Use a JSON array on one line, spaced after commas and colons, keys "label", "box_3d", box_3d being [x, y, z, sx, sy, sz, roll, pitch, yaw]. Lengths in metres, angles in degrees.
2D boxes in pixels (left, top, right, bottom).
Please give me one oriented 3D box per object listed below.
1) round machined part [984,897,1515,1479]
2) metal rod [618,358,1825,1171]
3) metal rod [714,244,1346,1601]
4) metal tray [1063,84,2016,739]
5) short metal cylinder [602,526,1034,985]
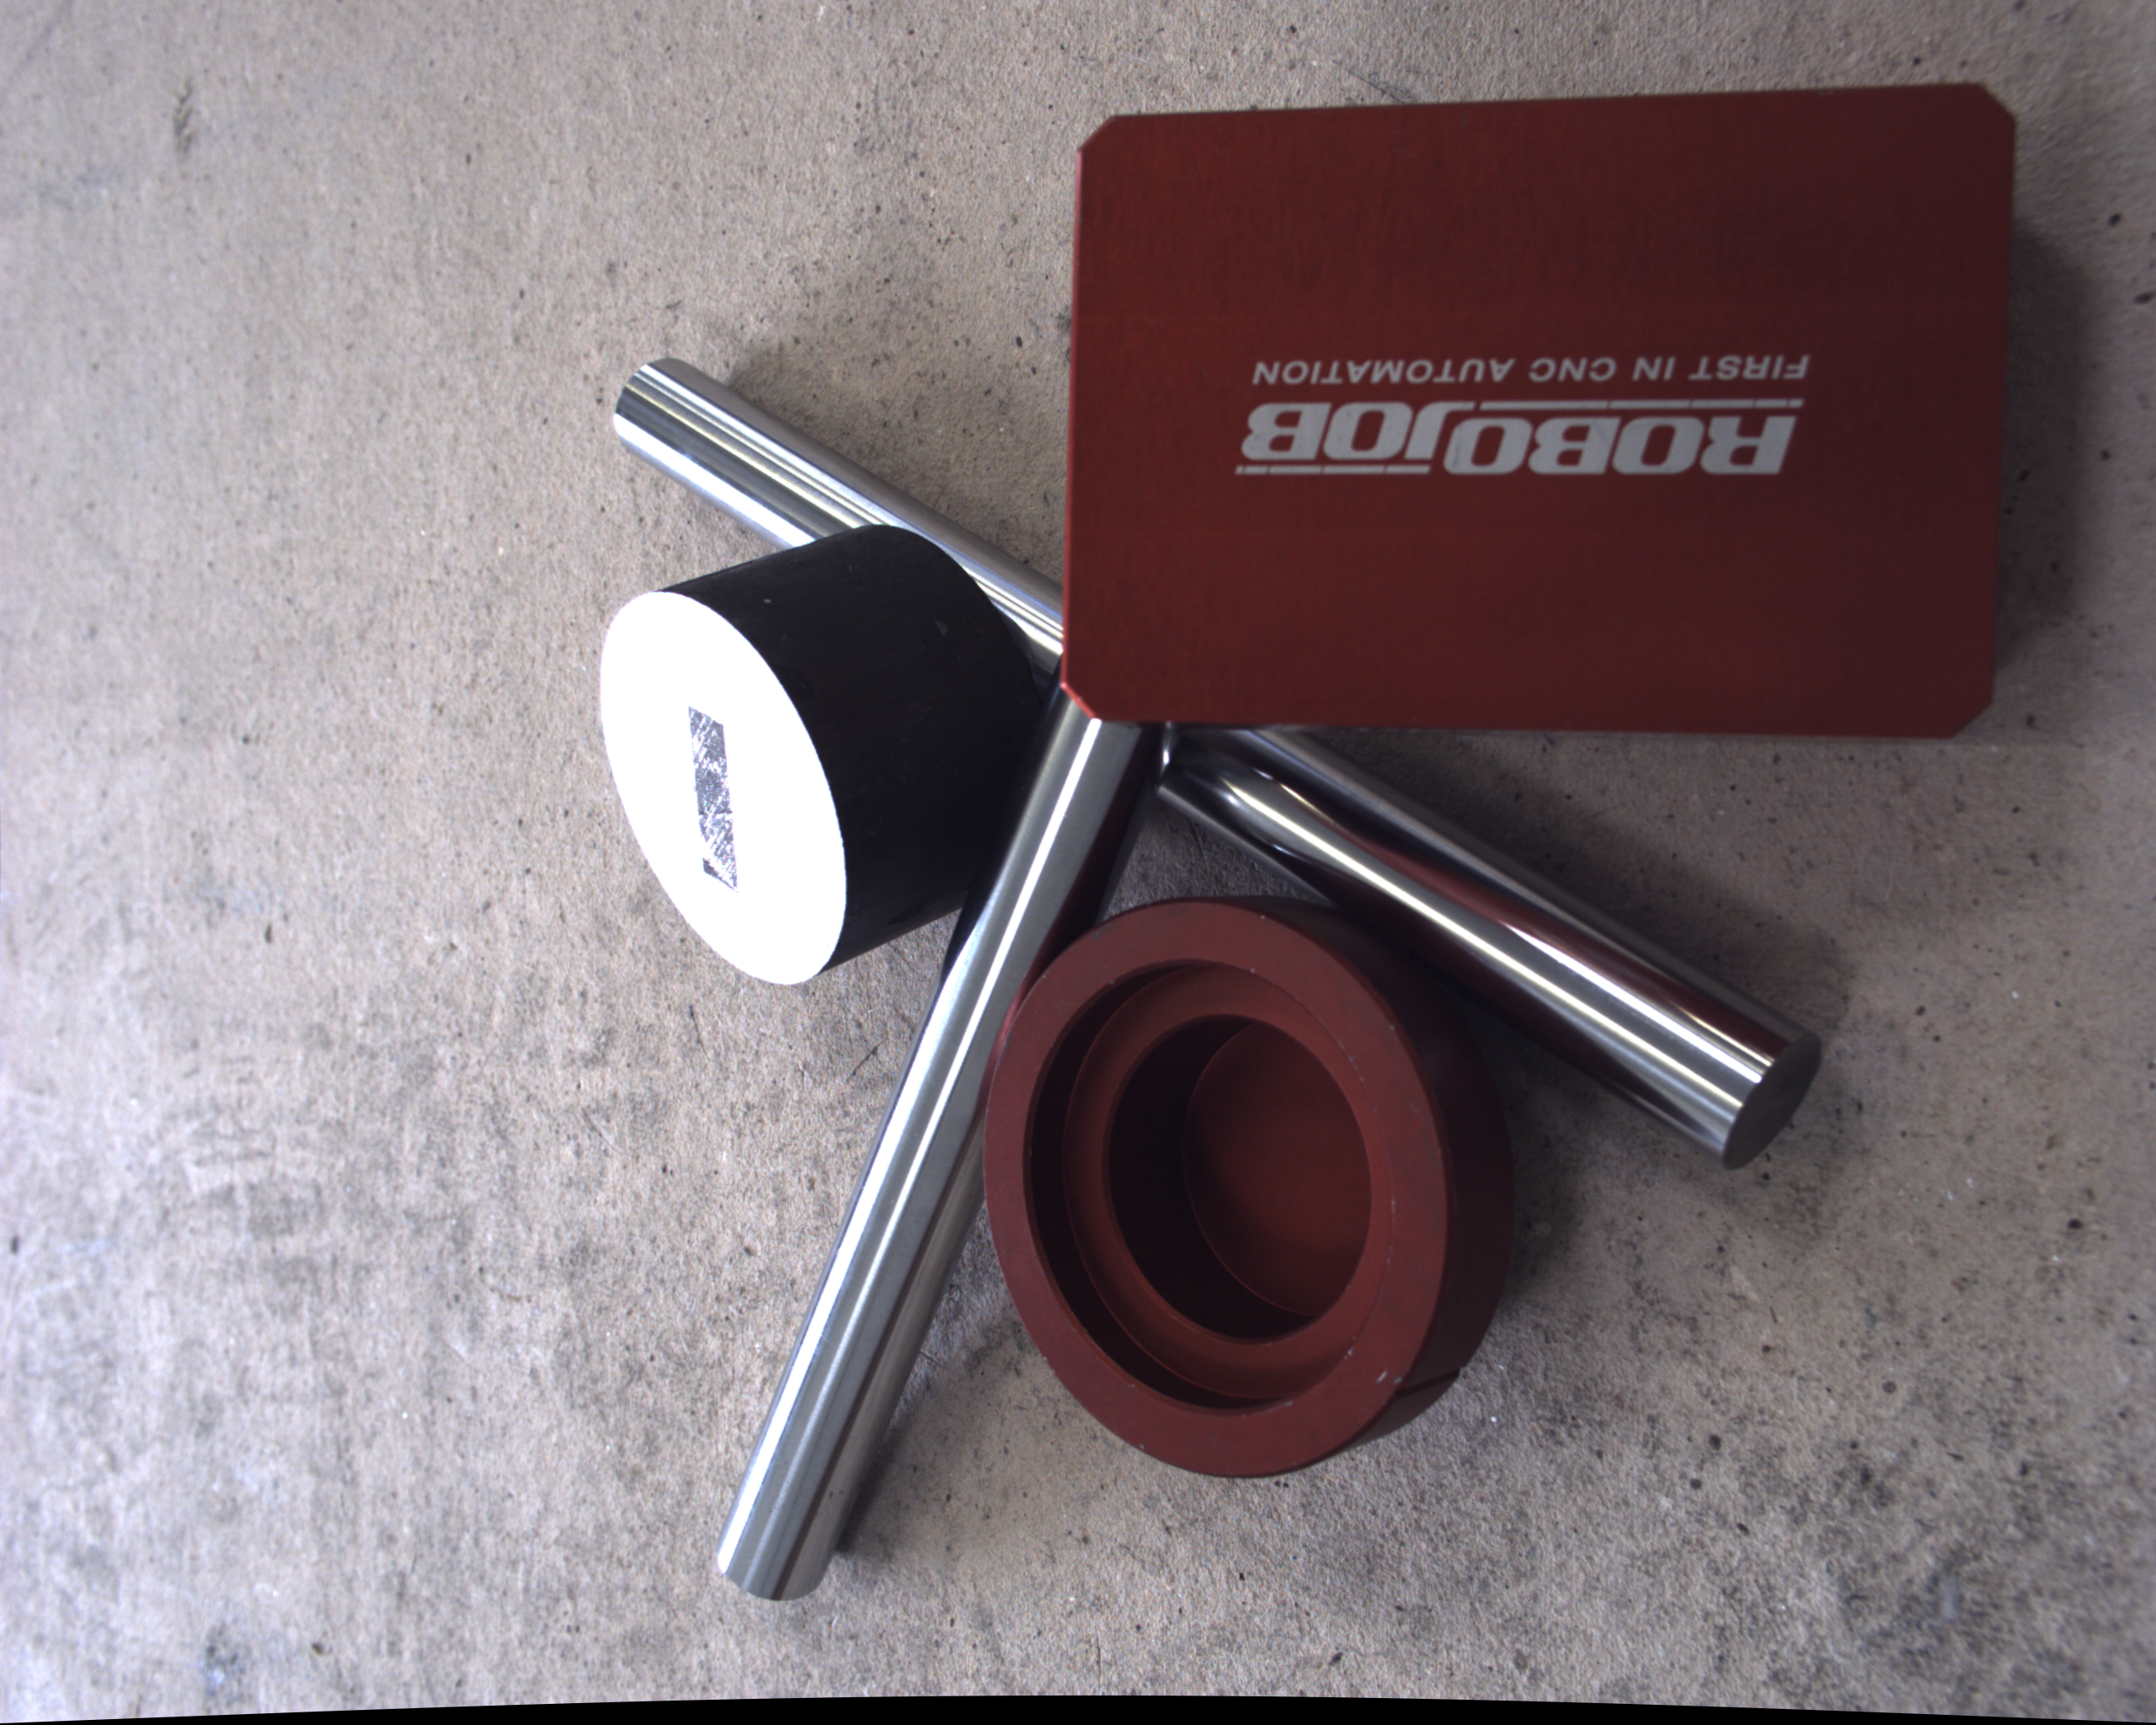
[{"label": "round machined part", "box_3d": [0.033, 0.055, 0.368, 0.098, 0.042, 0.097, 0, 90, 40]}, {"label": "metal rod", "box_3d": [0.005, -0.035, 0.403, 0.300, 0.025, 0.025, 35, 112, 34]}, {"label": "metal rod", "box_3d": [-0.017, 0.030, 0.398, 0.025, 0.025, 0.298, 40, 121, 32]}, {"label": "metal tray", "box_3d": [0.066, -0.064, 0.312, 0.131, 0.030, 0.089, 2, 92, 12]}, {"label": "short metal cylinder", "box_3d": [-0.051, -0.022, 0.415, 0.080, 0.050, 0.079, 29, 132, 40]}]
